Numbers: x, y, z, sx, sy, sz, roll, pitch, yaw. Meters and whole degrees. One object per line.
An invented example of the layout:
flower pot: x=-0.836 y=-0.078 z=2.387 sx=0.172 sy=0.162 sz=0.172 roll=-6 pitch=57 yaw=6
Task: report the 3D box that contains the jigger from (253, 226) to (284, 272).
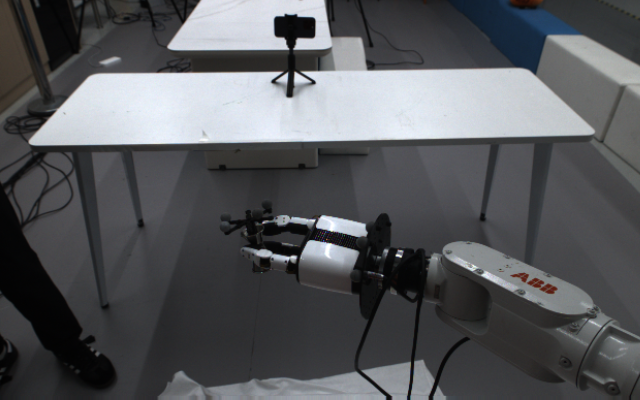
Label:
jigger: x=-0.098 y=0.078 z=0.781 sx=0.043 sy=0.071 sz=0.043 roll=-14 pitch=22 yaw=6
